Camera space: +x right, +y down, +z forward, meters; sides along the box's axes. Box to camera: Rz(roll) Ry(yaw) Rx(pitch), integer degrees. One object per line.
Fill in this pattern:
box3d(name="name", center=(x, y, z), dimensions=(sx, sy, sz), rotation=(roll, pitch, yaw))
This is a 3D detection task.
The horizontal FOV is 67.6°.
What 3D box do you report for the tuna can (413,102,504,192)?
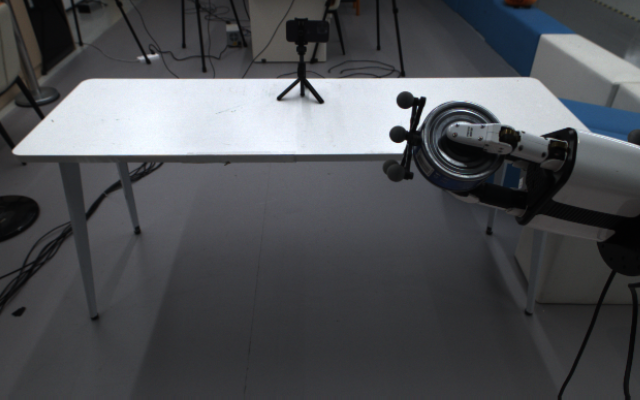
box3d(name="tuna can", center=(0.140, -0.057, 0.481), dimensions=(0.085, 0.034, 0.085), rotation=(2, 73, -5))
